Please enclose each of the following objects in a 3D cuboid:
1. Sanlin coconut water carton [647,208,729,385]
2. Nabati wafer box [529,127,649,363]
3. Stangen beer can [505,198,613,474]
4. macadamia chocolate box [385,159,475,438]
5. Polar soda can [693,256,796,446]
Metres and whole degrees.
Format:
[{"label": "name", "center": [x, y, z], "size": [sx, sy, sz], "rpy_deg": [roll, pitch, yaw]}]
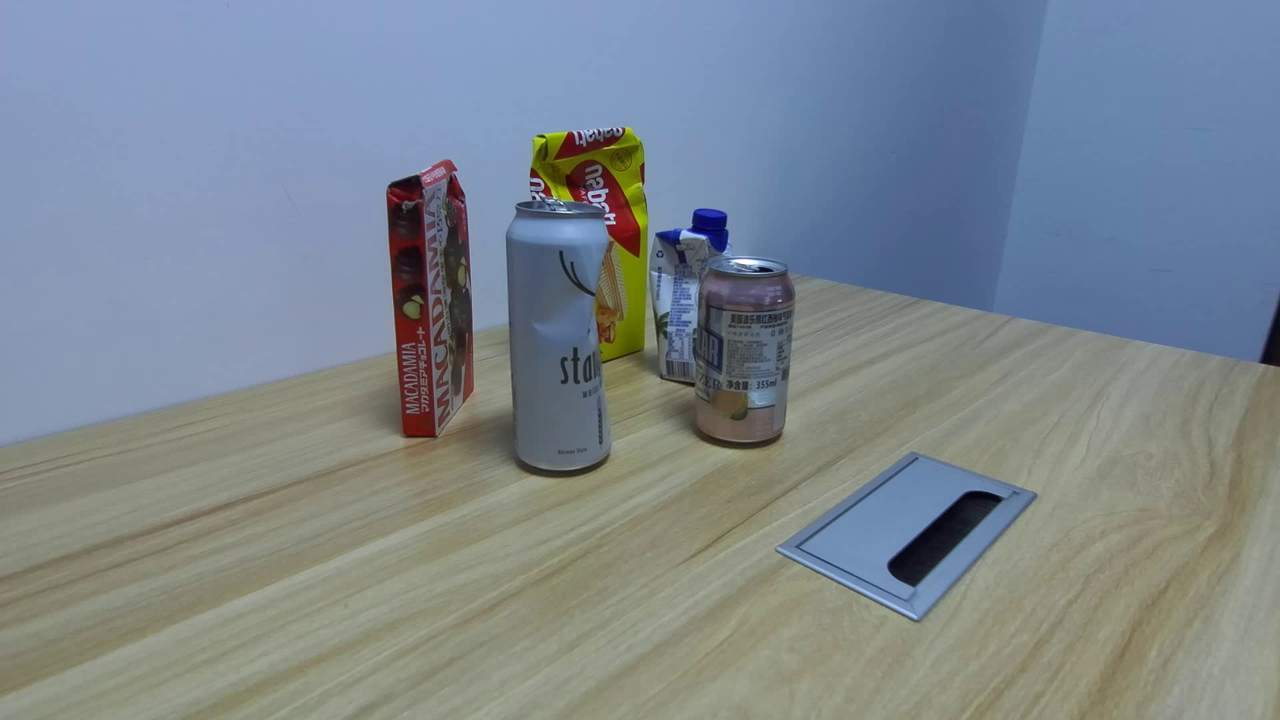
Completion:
[{"label": "Sanlin coconut water carton", "center": [0.047, -0.055, 0.607], "size": [0.068, 0.144, 0.057], "rpy_deg": [4, 13, 30]}, {"label": "Nabati wafer box", "center": [-0.041, -0.098, 0.635], "size": [0.114, 0.205, 0.042], "rpy_deg": [-19, 26, -39]}, {"label": "Stangen beer can", "center": [-0.048, -0.015, 0.455], "size": [0.069, 0.173, 0.070], "rpy_deg": [15, 22, 38]}, {"label": "macadamia chocolate box", "center": [-0.149, -0.047, 0.519], "size": [0.027, 0.187, 0.102], "rpy_deg": [5, 21, 2]}, {"label": "Polar soda can", "center": [0.073, -0.006, 0.497], "size": [0.067, 0.125, 0.067], "rpy_deg": [0, 19, 0]}]
